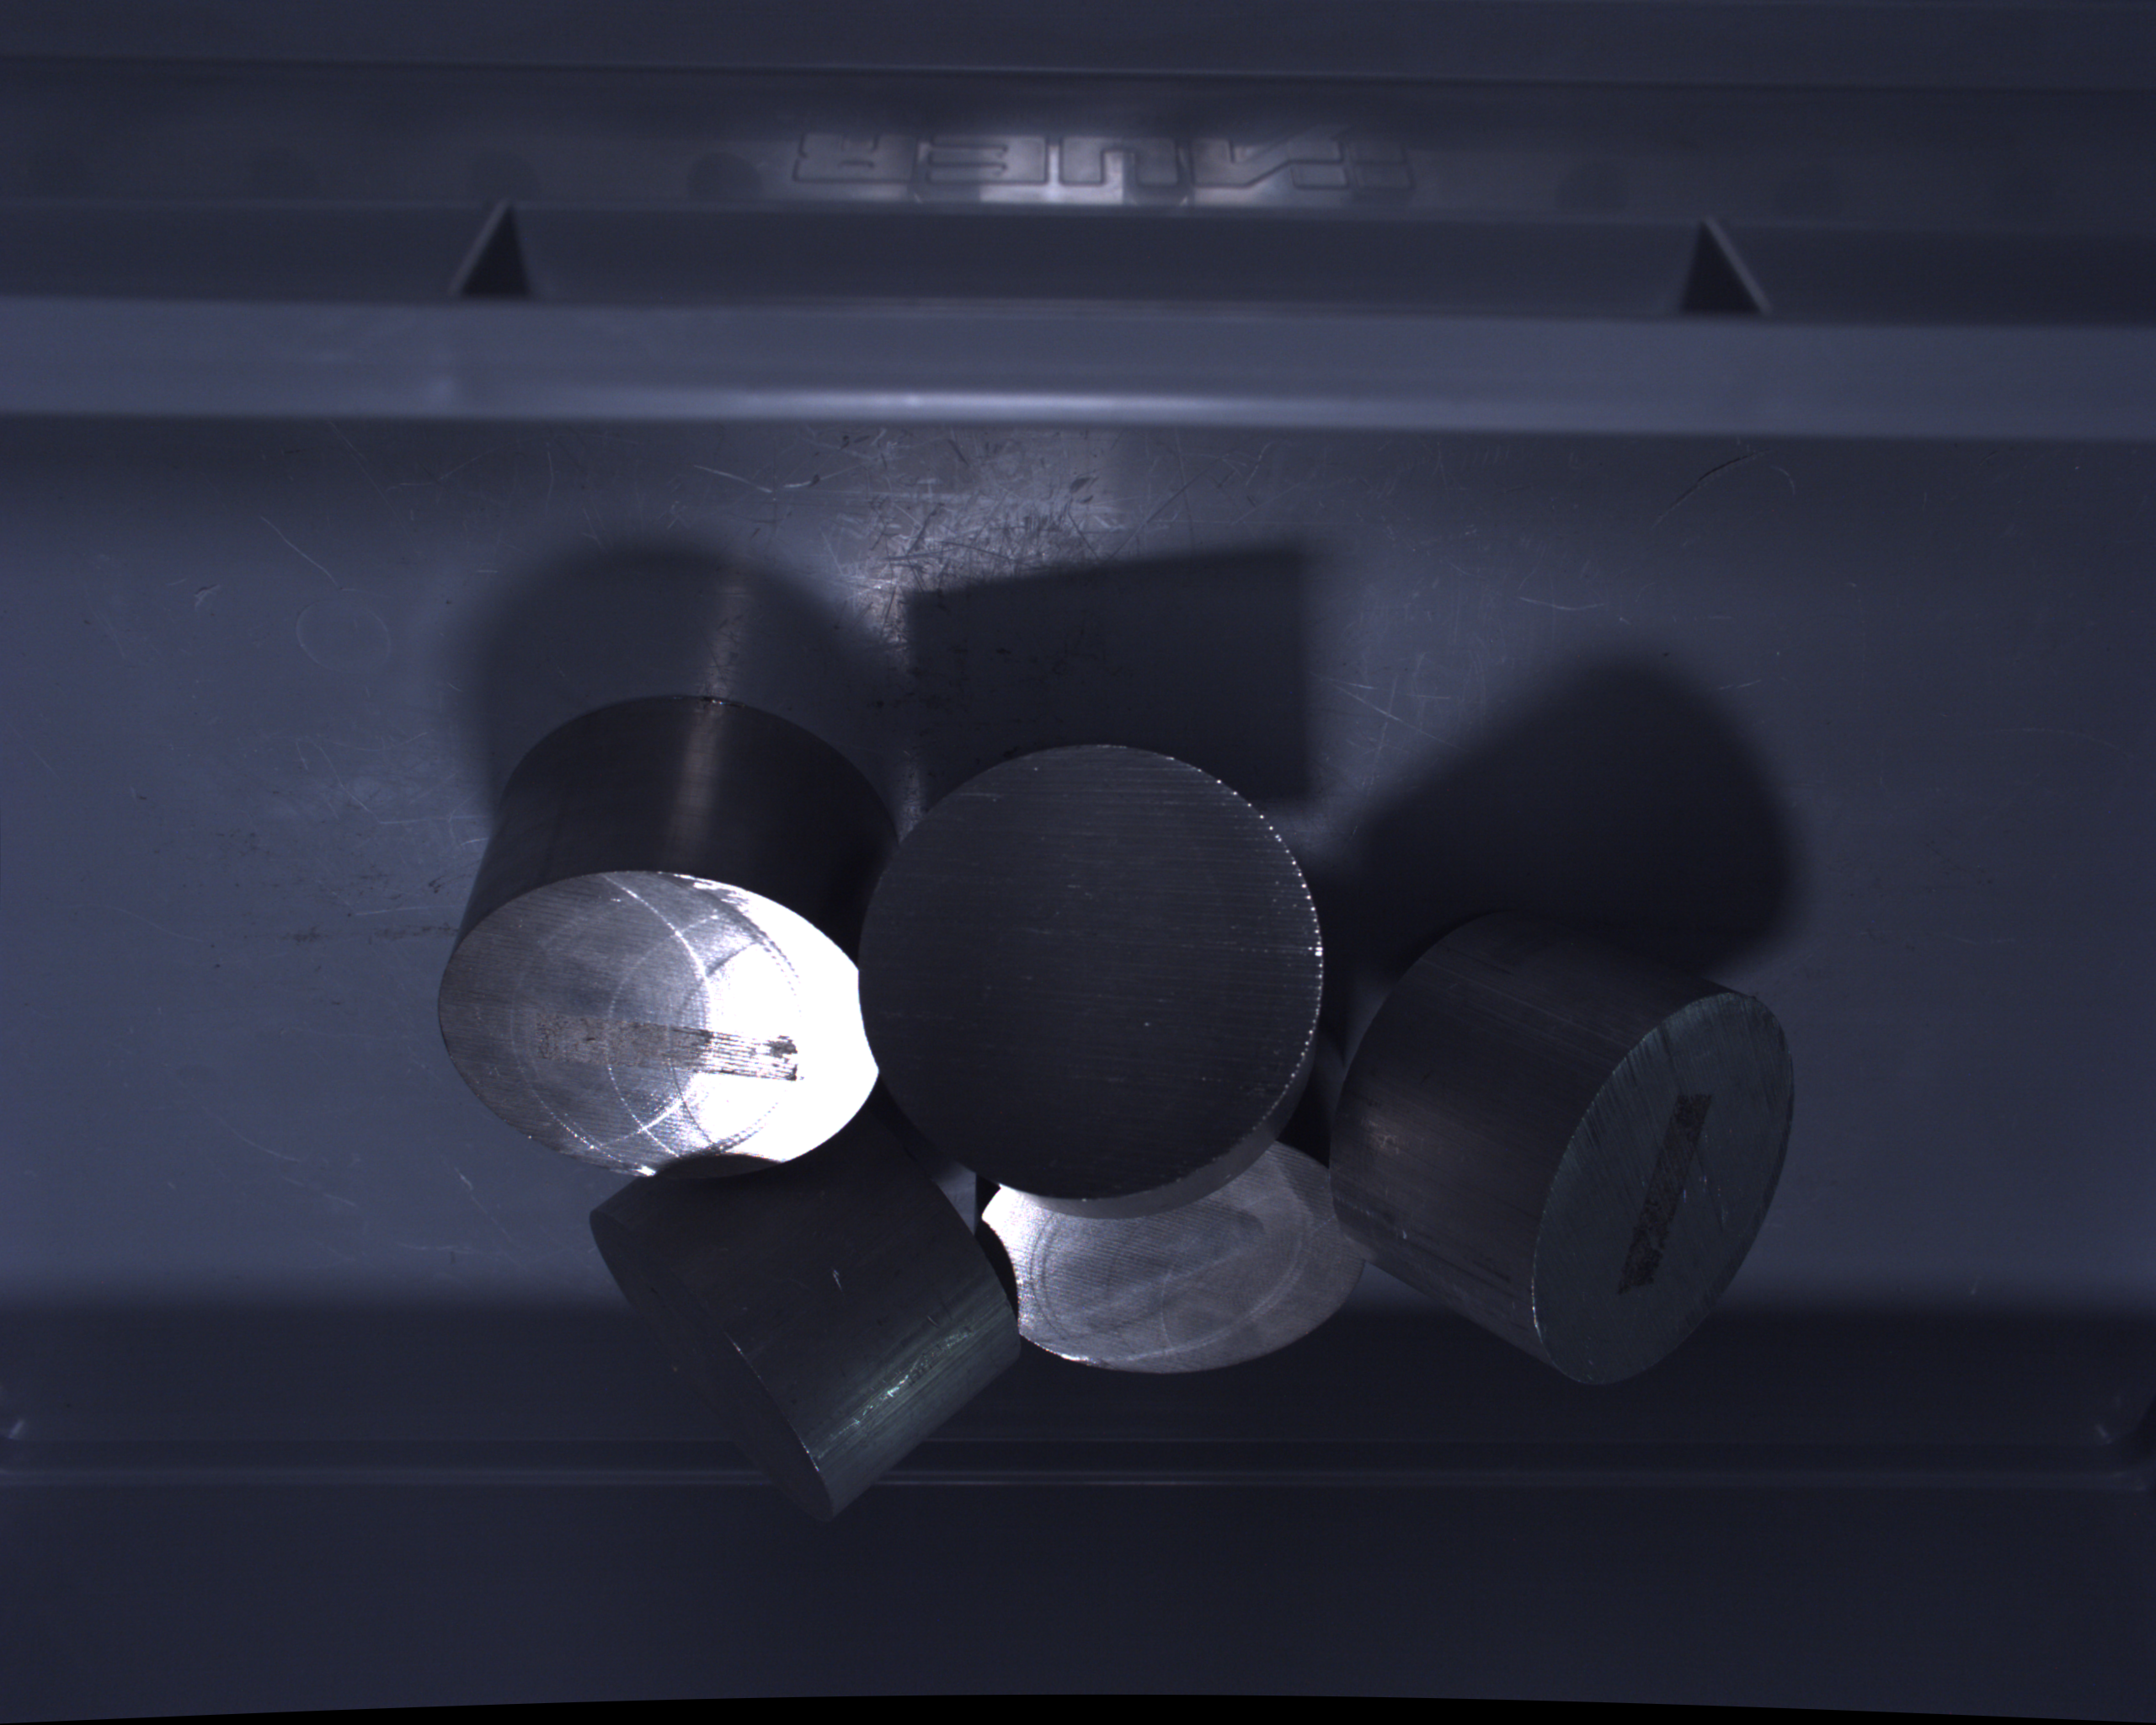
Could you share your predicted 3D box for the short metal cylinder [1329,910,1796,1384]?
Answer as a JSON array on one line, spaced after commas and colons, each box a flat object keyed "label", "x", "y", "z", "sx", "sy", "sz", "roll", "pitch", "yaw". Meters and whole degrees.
[{"label": "short metal cylinder", "x": 0.096, "y": 0.055, "z": 0.412, "sx": 0.081, "sy": 0.050, "sz": 0.079, "roll": -17, "pitch": 118, "yaw": -36}]

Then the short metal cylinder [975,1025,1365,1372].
[{"label": "short metal cylinder", "x": 0.019, "y": 0.064, "z": 0.446, "sx": 0.081, "sy": 0.050, "sz": 0.079, "roll": 0, "pitch": 130, "yaw": 0}]

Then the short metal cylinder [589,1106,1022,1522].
[{"label": "short metal cylinder", "x": -0.057, "y": 0.090, "z": 0.438, "sx": 0.050, "sy": 0.080, "sz": 0.080, "roll": -37, "pitch": 135, "yaw": -25}]

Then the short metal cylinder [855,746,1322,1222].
[{"label": "short metal cylinder", "x": 0.004, "y": 0.024, "z": 0.382, "sx": 0.080, "sy": 0.080, "sz": 0.050, "roll": -6, "pitch": 166, "yaw": 4}]

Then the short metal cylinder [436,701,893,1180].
[{"label": "short metal cylinder", "x": -0.077, "y": 0.016, "z": 0.402, "sx": 0.081, "sy": 0.050, "sz": 0.079, "roll": 0, "pitch": 130, "yaw": 0}]
